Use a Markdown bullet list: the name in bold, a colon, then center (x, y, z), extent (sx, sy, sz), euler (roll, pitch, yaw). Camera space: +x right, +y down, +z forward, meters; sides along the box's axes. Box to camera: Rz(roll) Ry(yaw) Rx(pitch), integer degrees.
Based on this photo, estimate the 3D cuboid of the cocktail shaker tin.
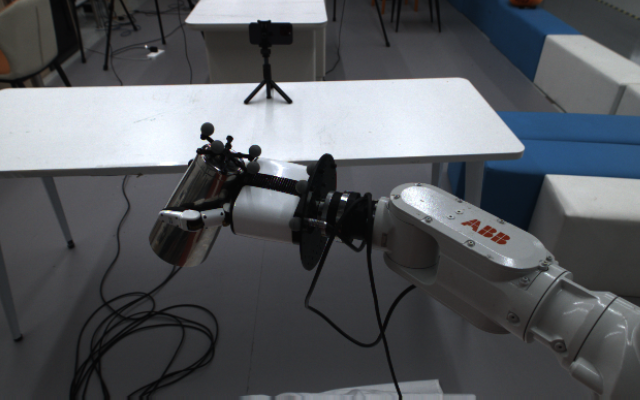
- **cocktail shaker tin**: center (-0.169, 0.002, 0.687), extent (0.093, 0.170, 0.093), euler (26, 32, -18)
